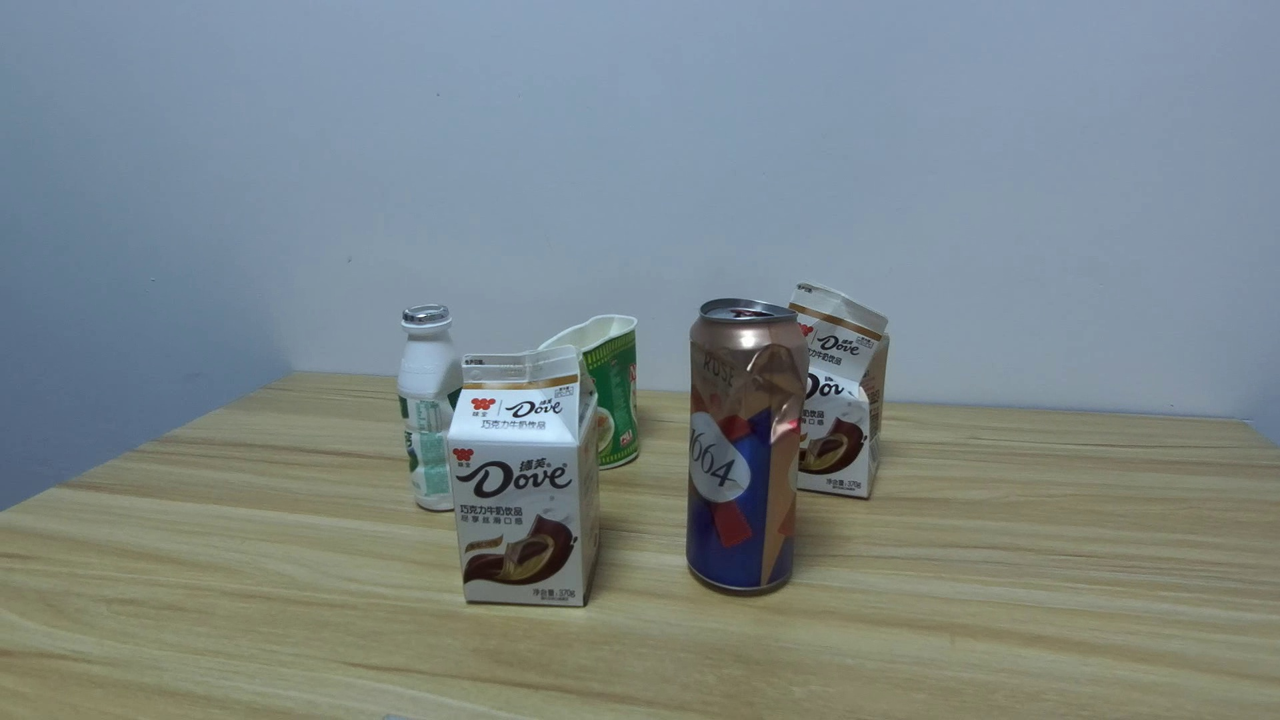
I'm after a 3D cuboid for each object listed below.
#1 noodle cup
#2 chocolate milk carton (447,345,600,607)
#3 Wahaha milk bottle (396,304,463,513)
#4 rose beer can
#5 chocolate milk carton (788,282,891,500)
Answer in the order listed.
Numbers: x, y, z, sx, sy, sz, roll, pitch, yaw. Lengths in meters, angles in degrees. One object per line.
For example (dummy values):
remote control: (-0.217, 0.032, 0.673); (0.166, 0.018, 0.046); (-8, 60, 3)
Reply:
noodle cup: (-0.038, 0.027, 0.577); (0.115, 0.111, 0.070); (-19, 25, -41)
chocolate milk carton: (-0.065, 0.063, 0.419); (0.075, 0.148, 0.074); (1, 19, 5)
Wahaha milk bottle: (-0.146, 0.034, 0.516); (0.056, 0.147, 0.056); (-1, 19, 1)
rose beer can: (0.063, 0.051, 0.413); (0.065, 0.167, 0.075); (-2, 15, -8)
chocolate milk carton: (0.141, 0.016, 0.524); (0.076, 0.155, 0.074); (6, 22, 21)
